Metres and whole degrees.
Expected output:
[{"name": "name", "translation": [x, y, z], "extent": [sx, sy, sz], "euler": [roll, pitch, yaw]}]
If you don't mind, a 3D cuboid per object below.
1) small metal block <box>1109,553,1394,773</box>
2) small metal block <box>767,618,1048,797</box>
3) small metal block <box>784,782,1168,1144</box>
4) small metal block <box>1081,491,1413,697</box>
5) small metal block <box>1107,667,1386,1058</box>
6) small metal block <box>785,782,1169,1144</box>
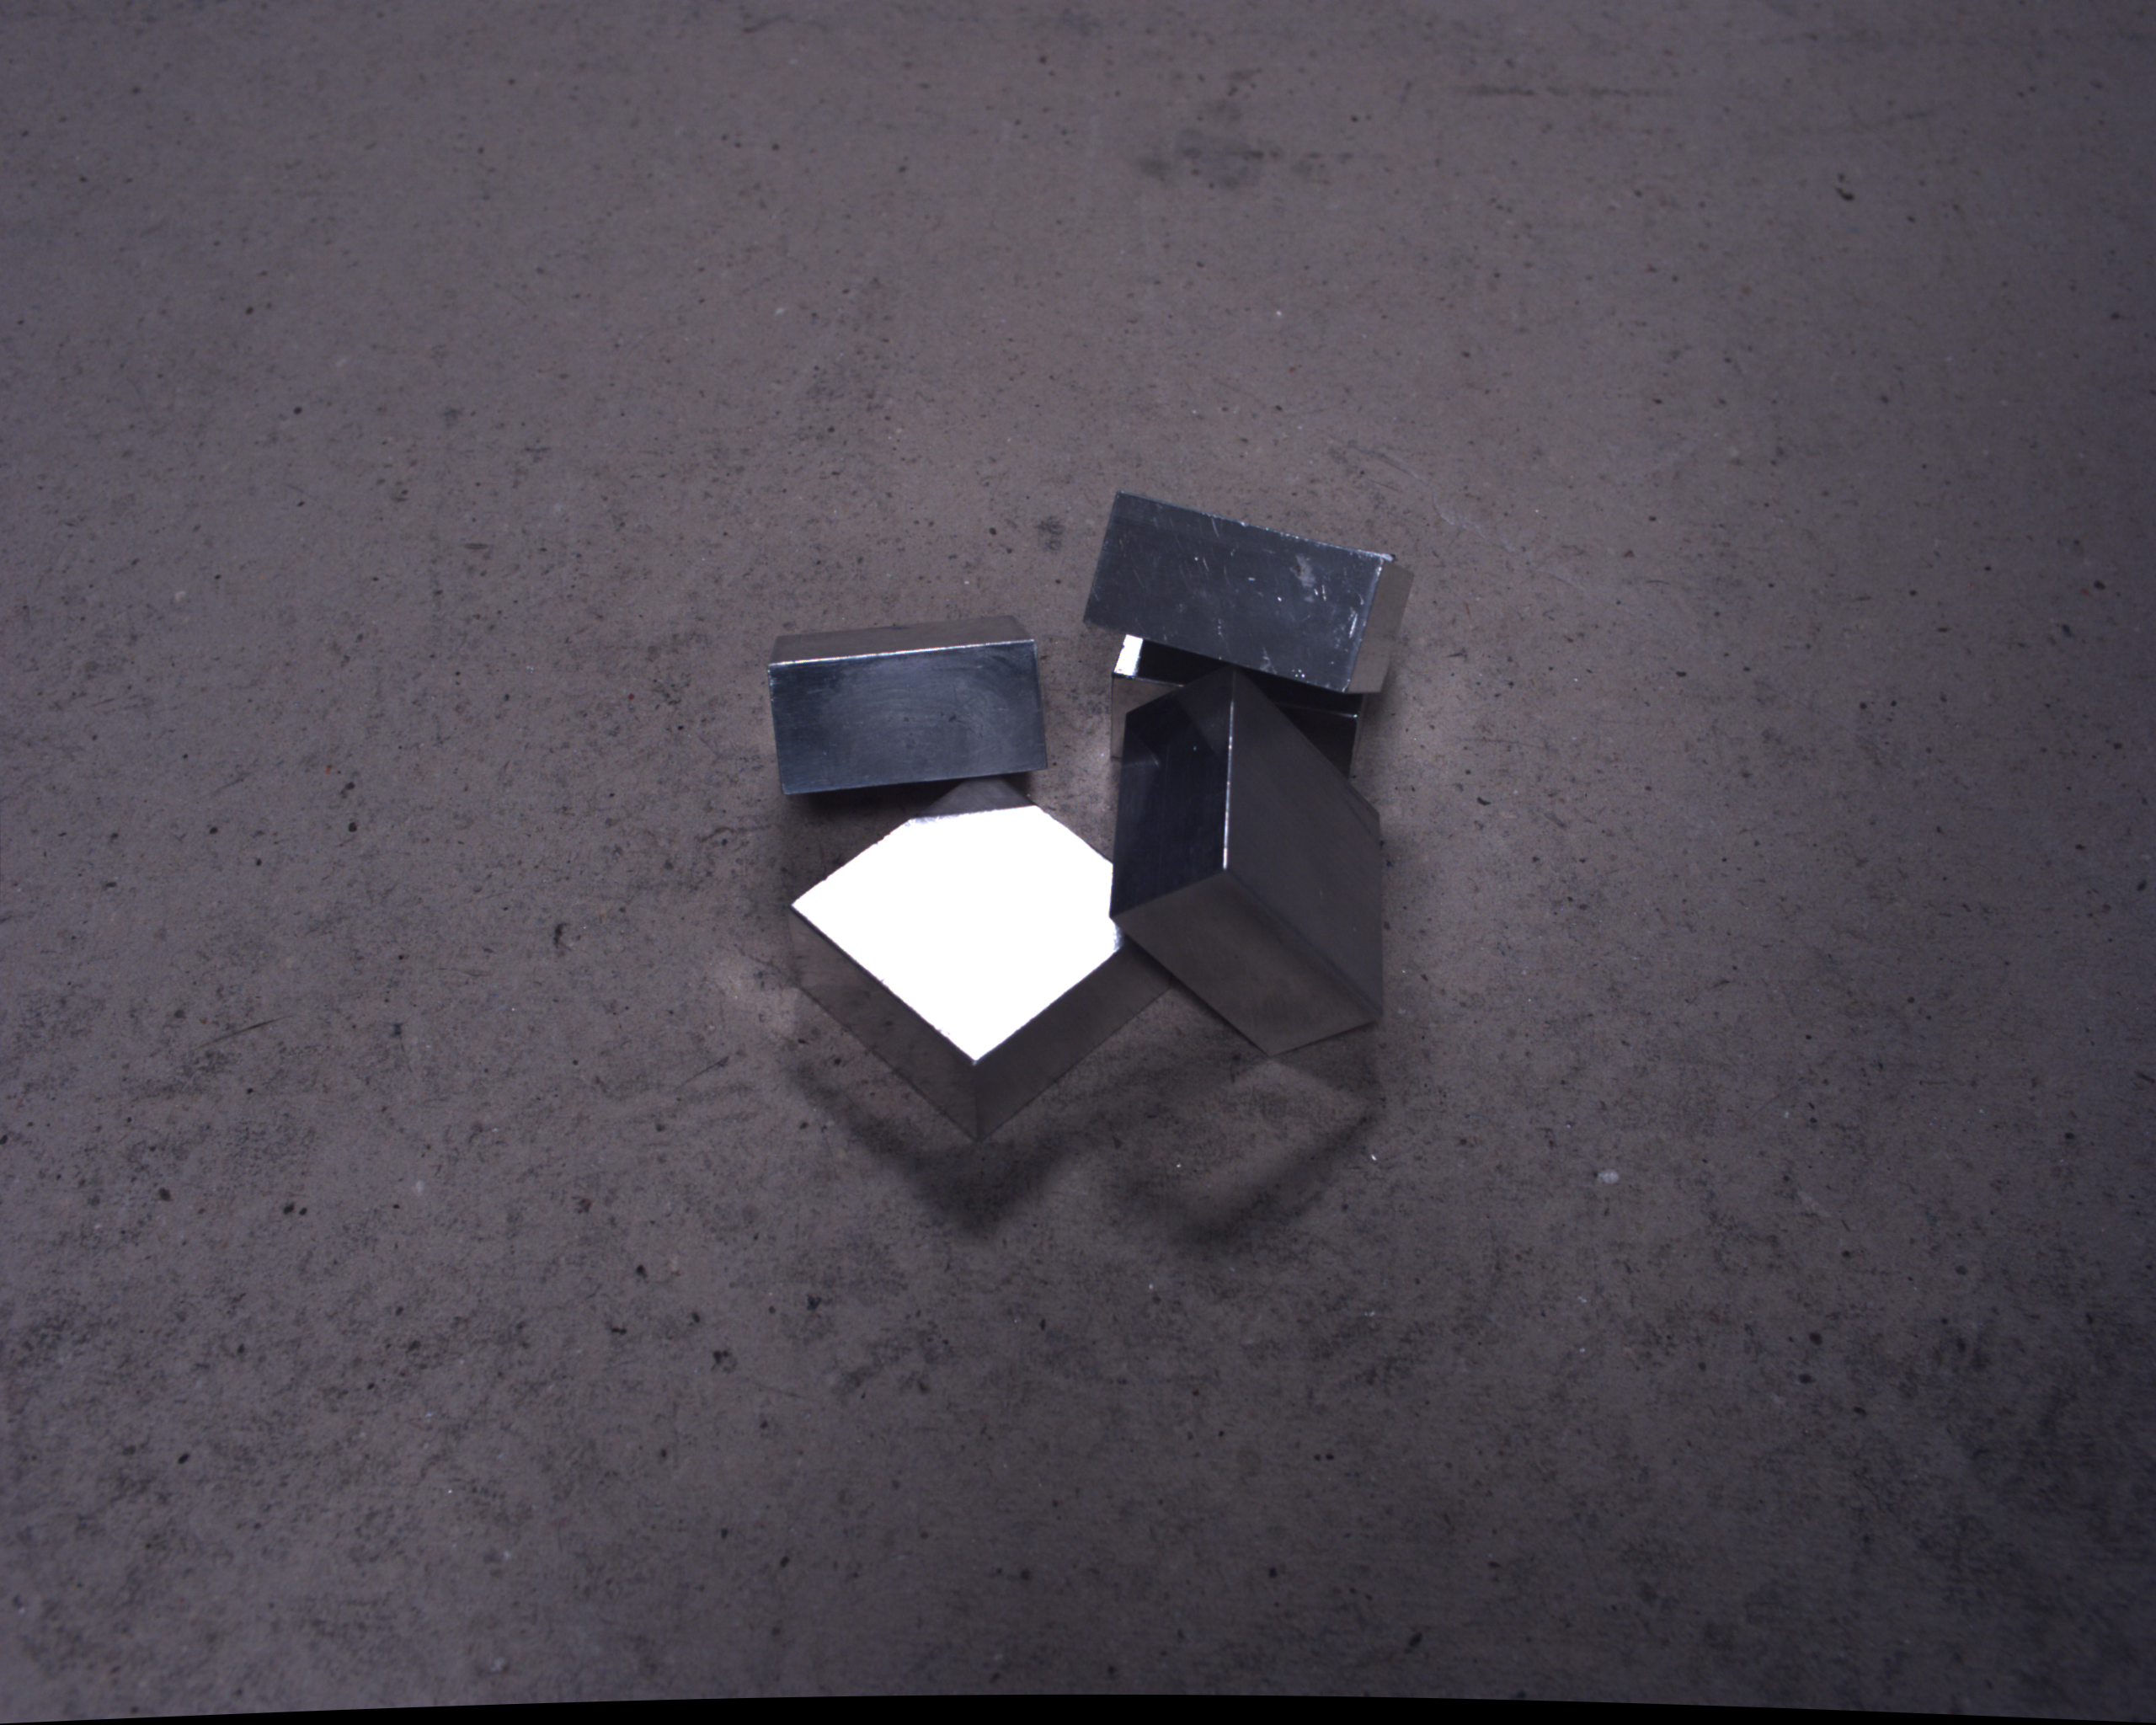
[{"name": "small metal block", "translation": [0.037, -0.044, 0.442], "extent": [0.050, 0.025, 0.050], "euler": [11, 51, 8]}, {"name": "small metal block", "translation": [-0.034, -0.032, 0.415], "extent": [0.050, 0.025, 0.050], "euler": [-6, 13, -6]}, {"name": "small metal block", "translation": [-0.018, 0.016, 0.391], "extent": [0.050, 0.025, 0.050], "euler": [37, 59, 27]}, {"name": "small metal block", "translation": [0.034, -0.050, 0.397], "extent": [0.050, 0.025, 0.050], "euler": [17, 9, 13]}, {"name": "small metal block", "translation": [0.032, 0.000, 0.386], "extent": [0.025, 0.050, 0.050], "euler": [-24, 41, 31]}, {"name": "small metal block", "translation": [-0.018, 0.016, 0.391], "extent": [0.050, 0.025, 0.050], "euler": [38, 59, 27]}]
